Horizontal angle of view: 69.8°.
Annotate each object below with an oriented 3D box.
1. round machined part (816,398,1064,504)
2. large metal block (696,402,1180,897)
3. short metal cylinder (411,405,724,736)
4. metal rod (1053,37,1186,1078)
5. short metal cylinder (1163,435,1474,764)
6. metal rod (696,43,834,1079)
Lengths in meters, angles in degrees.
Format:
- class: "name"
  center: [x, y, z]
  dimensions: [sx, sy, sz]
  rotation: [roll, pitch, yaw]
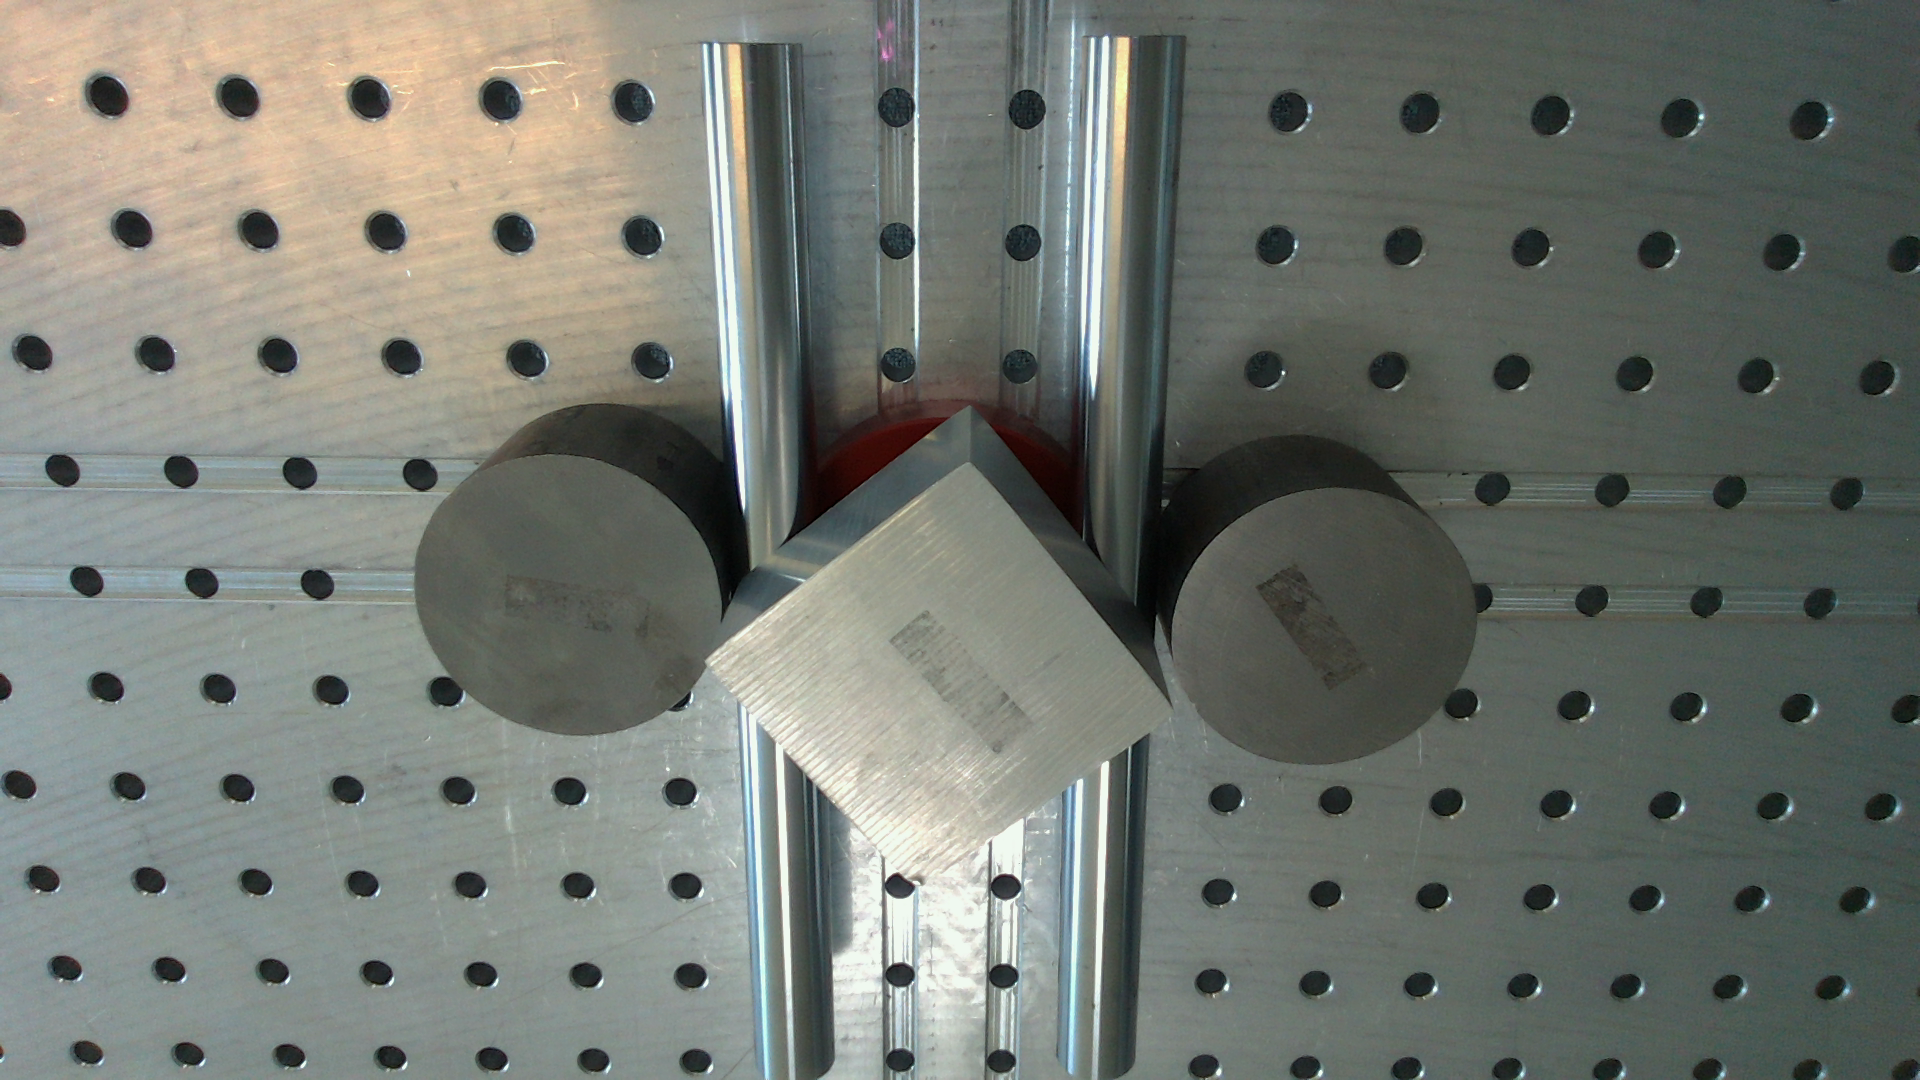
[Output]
- class: "round machined part"
  center: [-0.005, 0.012, 0.392]
  dimensions: [0.098, 0.042, 0.098]
  rotation: [0, 110, 0]
- class: "large metal block"
  center: [-0.005, 0.027, 0.342]
  dimensions: [0.080, 0.050, 0.080]
  rotation: [-37, 106, 12]
- class: "short metal cylinder"
  center: [-0.104, 0.007, 0.385]
  dimensions: [0.080, 0.050, 0.080]
  rotation: [0, 110, 0]
- class: "metal rod"
  center: [0.042, 0.020, 0.382]
  dimensions: [0.025, 0.025, 0.300]
  rotation: [0, 110, 0]
- class: "short metal cylinder"
  center: [0.096, 0.016, 0.389]
  dimensions: [0.080, 0.050, 0.080]
  rotation: [0, 110, 0]
- class: "metal rod"
  center: [-0.051, 0.022, 0.382]
  dimensions: [0.025, 0.025, 0.300]
  rotation: [0, 110, 0]
